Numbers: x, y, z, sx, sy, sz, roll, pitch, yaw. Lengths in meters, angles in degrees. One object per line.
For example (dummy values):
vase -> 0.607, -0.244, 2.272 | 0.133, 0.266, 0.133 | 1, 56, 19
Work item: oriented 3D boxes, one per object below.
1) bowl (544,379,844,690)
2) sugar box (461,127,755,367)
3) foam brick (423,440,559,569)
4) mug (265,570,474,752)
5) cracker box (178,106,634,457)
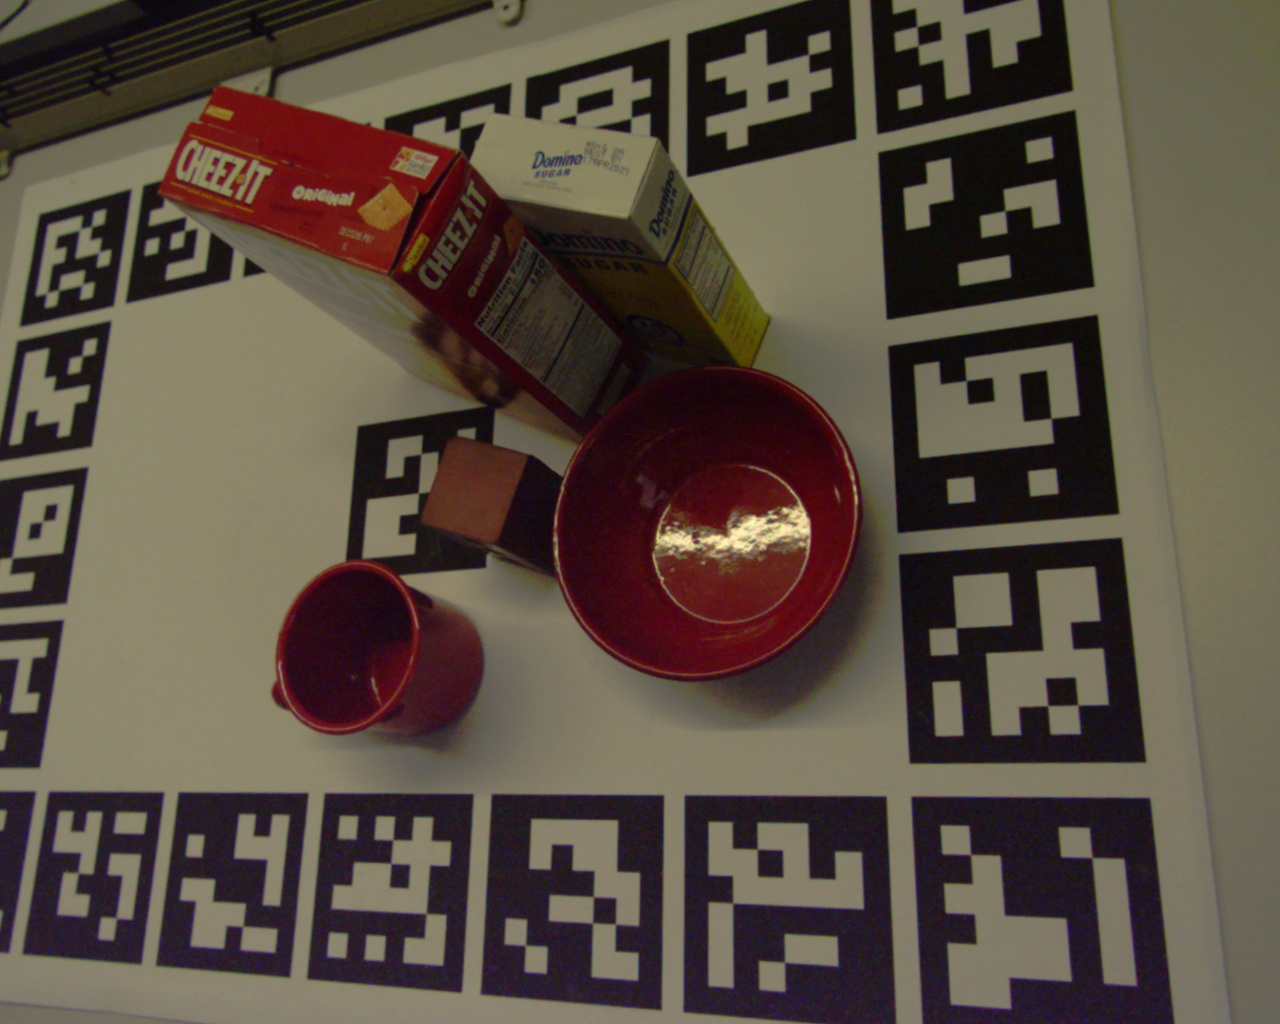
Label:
bowl -> 0.033, 0.015, 0.599 | 0.163, 0.054, 0.162 | -7, 73, 23
sugar box -> -0.011, -0.135, 0.606 | 0.094, 0.174, 0.045 | 17, 82, 28
foam brick -> -0.079, -0.002, 0.659 | 0.053, 0.077, 0.051 | 10, 79, 27
mug -> -0.159, 0.093, 0.657 | 0.118, 0.080, 0.093 | -16, 61, 22
cracker box -> -0.120, -0.116, 0.631 | 0.166, 0.211, 0.072 | 26, 84, 27
